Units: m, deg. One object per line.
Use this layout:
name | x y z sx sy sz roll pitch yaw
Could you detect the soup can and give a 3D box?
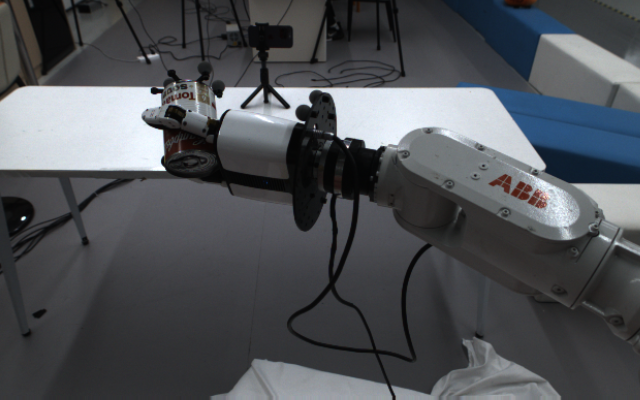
soup can | -0.159 -0.086 0.595 0.067 0.067 0.101 -6 68 -12
